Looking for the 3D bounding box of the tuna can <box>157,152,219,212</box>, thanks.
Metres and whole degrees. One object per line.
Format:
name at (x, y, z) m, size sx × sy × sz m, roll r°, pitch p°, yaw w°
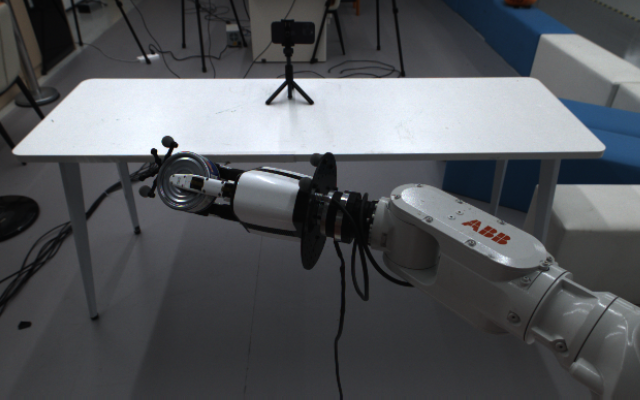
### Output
tuna can at (-0.187, -0.026, 0.690) m, size 0.085 × 0.085 × 0.034 m, roll 13°, pitch -3°, yaw 15°
